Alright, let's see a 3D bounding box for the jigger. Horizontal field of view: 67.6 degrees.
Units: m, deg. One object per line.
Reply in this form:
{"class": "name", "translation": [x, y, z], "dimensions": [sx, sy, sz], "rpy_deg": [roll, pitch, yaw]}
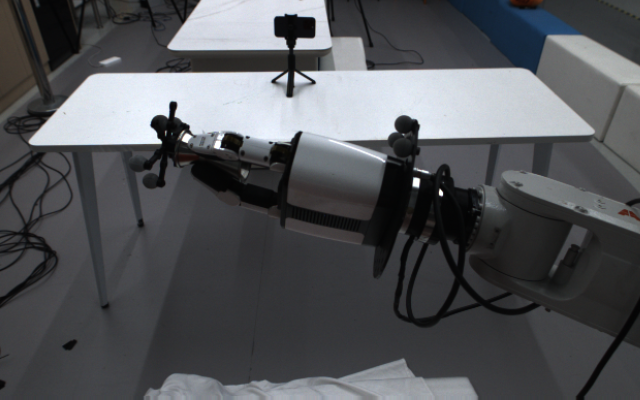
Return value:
{"class": "jigger", "translation": [-0.099, -0.047, 0.490], "dimensions": [0.071, 0.043, 0.043], "rpy_deg": [13, 36, 4]}
